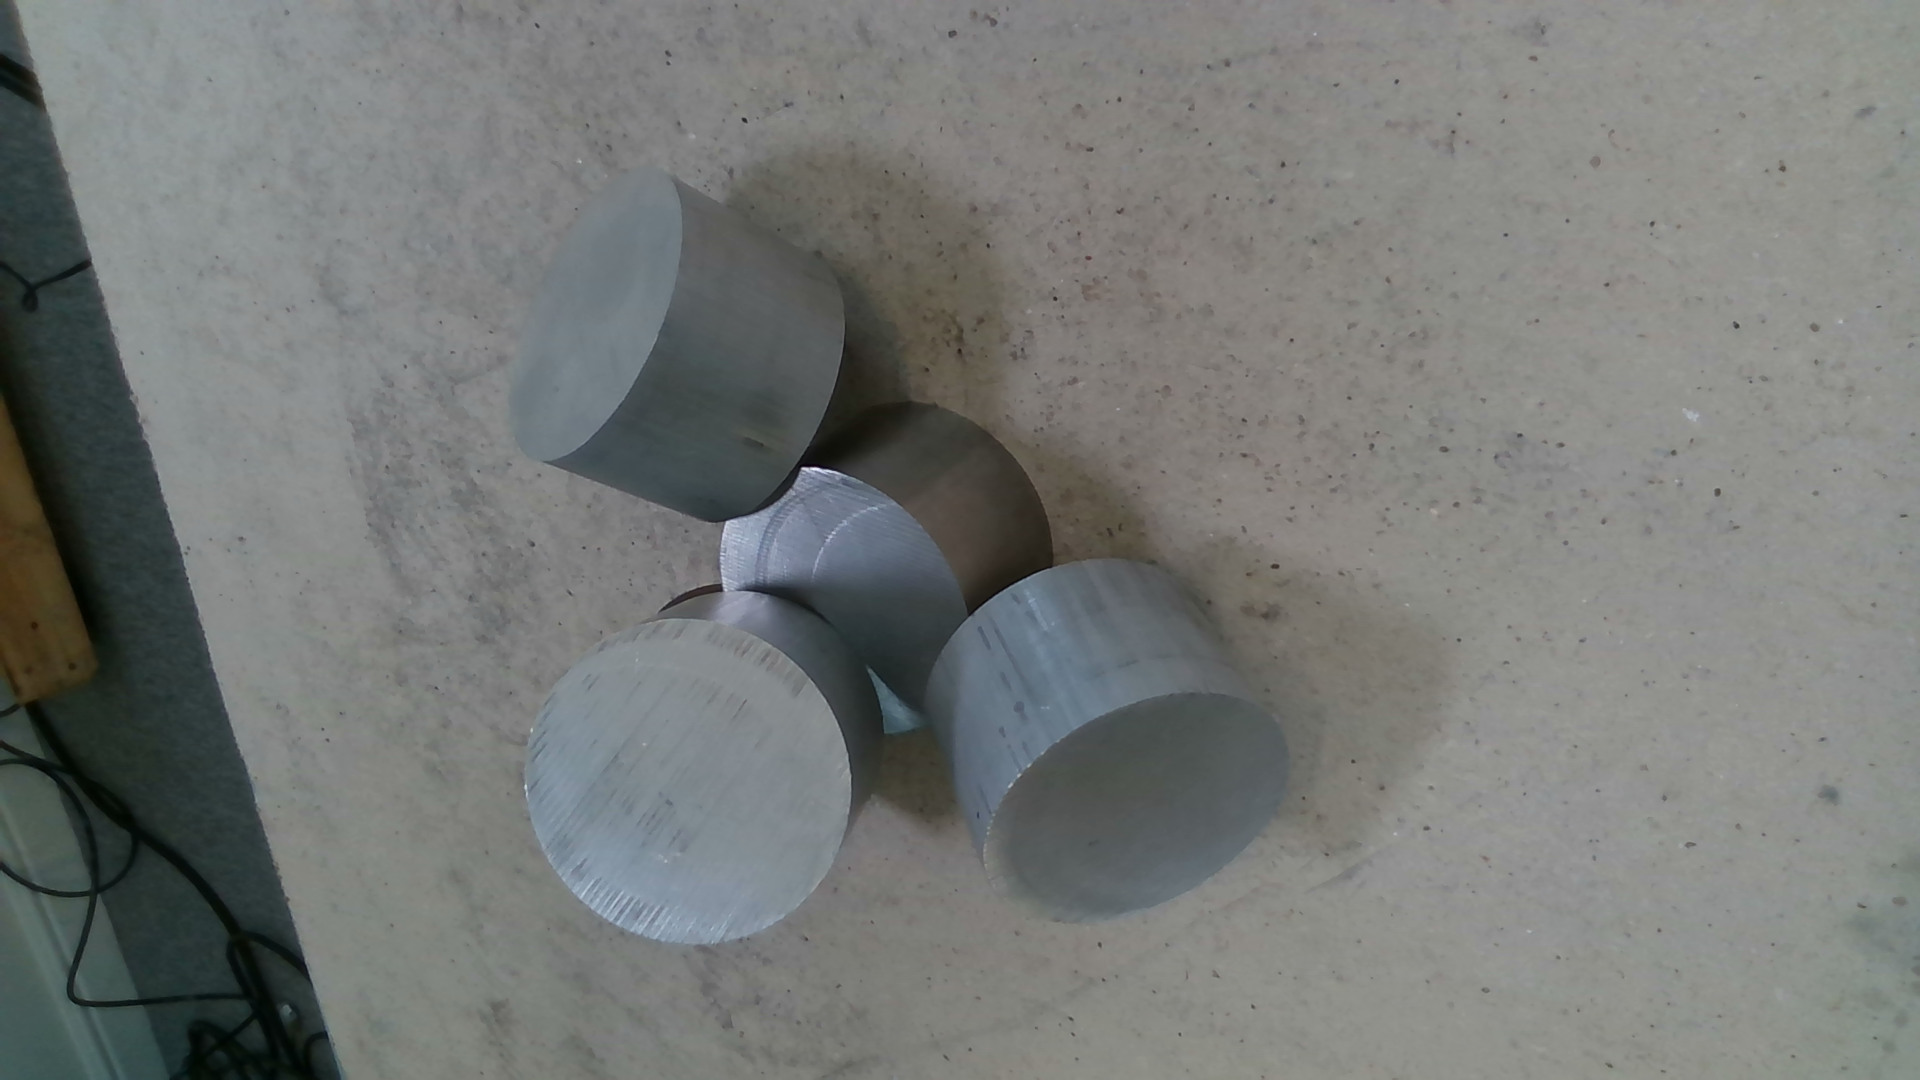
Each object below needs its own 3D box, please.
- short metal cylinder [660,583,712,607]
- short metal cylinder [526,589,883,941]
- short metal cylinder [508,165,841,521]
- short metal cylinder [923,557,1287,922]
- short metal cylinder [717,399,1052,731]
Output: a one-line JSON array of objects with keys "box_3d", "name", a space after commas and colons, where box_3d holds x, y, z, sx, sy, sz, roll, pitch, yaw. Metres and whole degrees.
[{"box_3d": [-0.072, 0.060, 0.431, 0.080, 0.080, 0.050, 43, 129, 4], "name": "short metal cylinder"}, {"box_3d": [-0.063, 0.056, 0.356, 0.080, 0.050, 0.080, 1, 96, 6], "name": "short metal cylinder"}, {"box_3d": [-0.077, -0.051, 0.366, 0.080, 0.050, 0.080, -22, 58, 40], "name": "short metal cylinder"}, {"box_3d": [0.035, 0.051, 0.352, 0.050, 0.080, 0.080, -116, 32, -48], "name": "short metal cylinder"}, {"box_3d": [-0.021, 0.007, 0.389, 0.080, 0.050, 0.080, 14, 122, 24], "name": "short metal cylinder"}]
